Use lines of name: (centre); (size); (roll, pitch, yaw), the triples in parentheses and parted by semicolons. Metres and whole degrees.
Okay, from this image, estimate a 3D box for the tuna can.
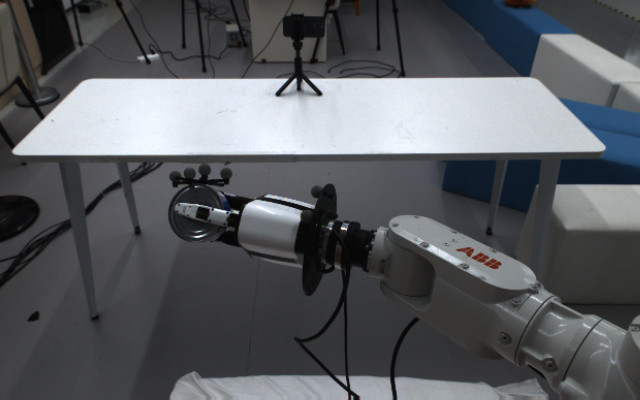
tuna can: (-0.171, 0.023, 0.714); (0.085, 0.085, 0.034); (9, -6, 10)
